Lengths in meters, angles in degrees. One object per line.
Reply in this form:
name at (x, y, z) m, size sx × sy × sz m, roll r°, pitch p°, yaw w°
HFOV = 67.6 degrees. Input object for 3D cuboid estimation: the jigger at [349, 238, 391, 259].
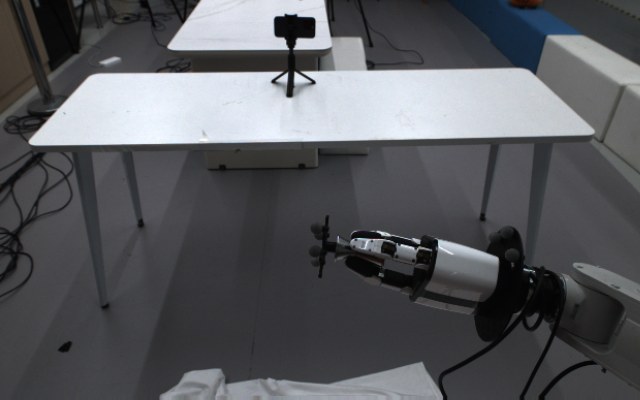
jigger at (0.063, 0.066, 0.679) m, size 0.071 × 0.043 × 0.043 m, roll 5°, pitch 35°, yaw 3°
